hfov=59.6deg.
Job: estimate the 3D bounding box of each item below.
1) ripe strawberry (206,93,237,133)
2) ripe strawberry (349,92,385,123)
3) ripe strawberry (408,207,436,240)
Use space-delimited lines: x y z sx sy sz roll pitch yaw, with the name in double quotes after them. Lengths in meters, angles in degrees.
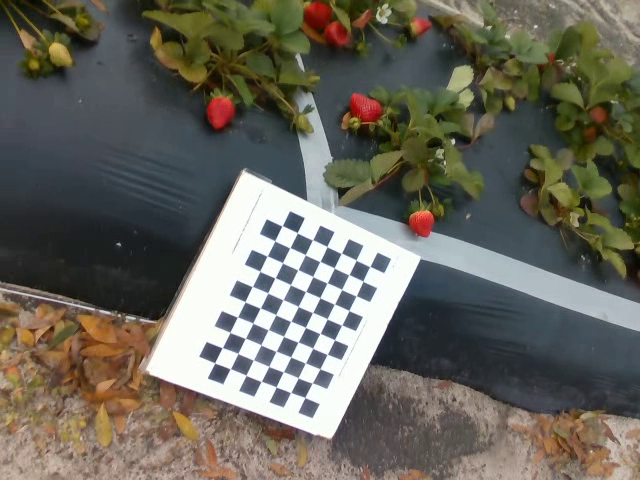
-0.120 -0.156 0.648 0.036 0.046 0.040 10 -40 -5 "ripe strawberry"
0.061 -0.200 0.778 0.062 0.043 0.043 44 2 -8 "ripe strawberry"
0.134 -0.026 0.763 0.039 0.047 0.041 -10 3 -3 "ripe strawberry"
